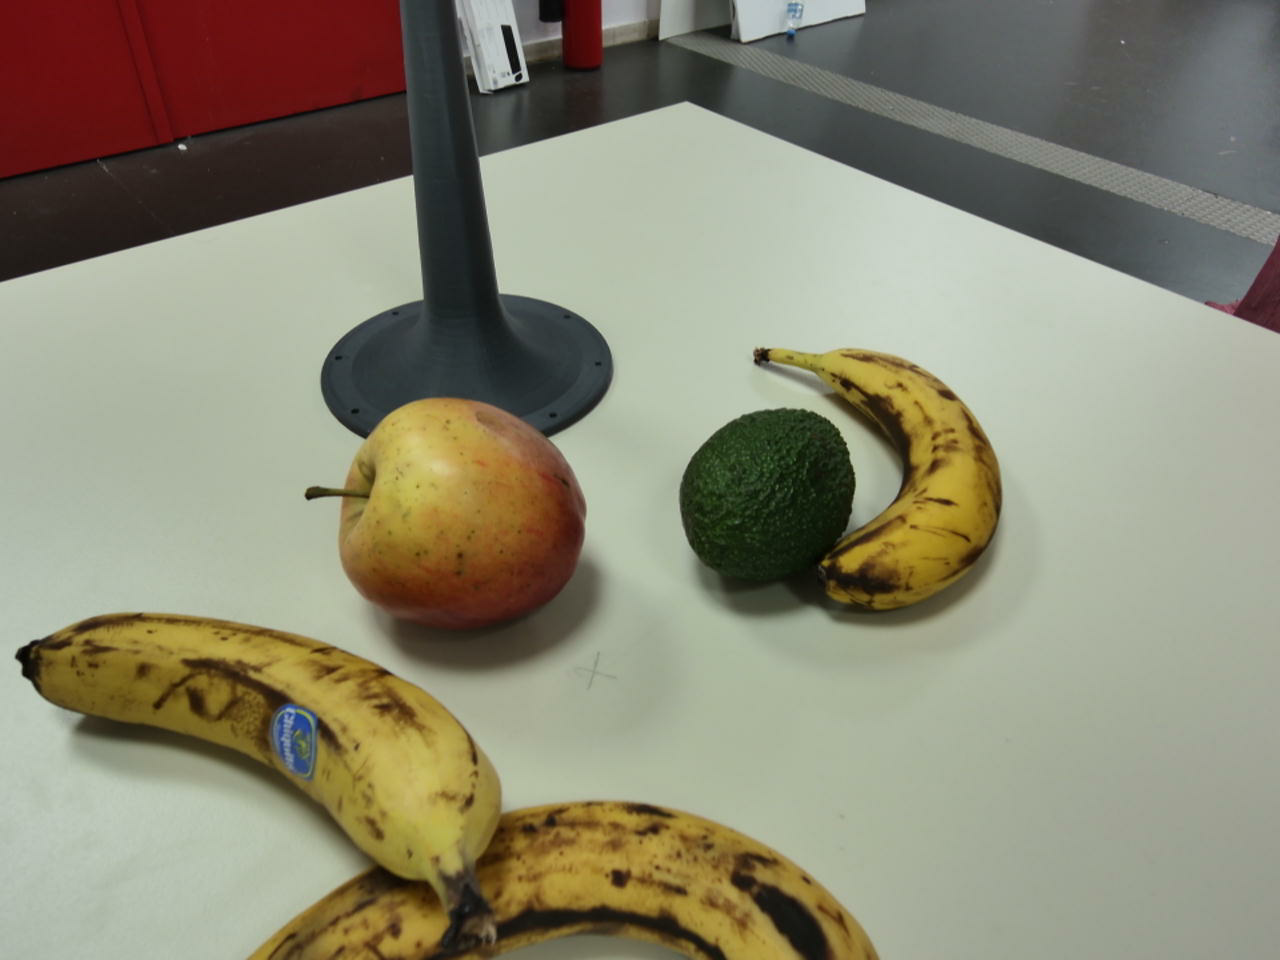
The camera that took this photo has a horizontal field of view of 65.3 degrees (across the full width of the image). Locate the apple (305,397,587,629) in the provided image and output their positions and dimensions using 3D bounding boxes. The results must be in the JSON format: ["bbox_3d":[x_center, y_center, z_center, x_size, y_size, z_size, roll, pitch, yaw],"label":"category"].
[{"bbox_3d":[-0.068,0.013,0.370,0.093,0.084,0.086,10,37,11],"label":"apple"}]
